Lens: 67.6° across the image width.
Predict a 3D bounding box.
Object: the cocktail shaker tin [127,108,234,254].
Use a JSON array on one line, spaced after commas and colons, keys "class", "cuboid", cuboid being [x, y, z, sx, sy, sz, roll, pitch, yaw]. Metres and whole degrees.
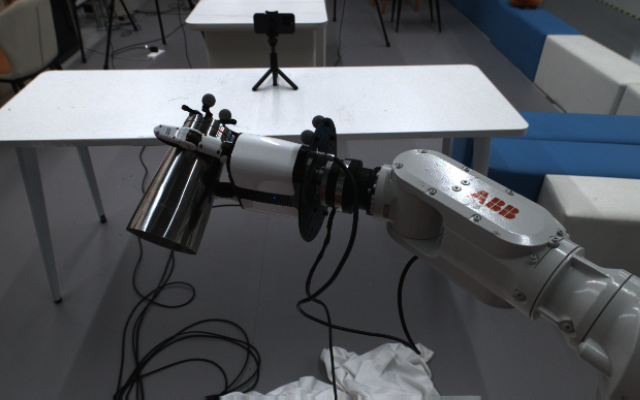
[{"class": "cocktail shaker tin", "cuboid": [-0.175, -0.026, 0.640, 0.093, 0.093, 0.170, 13, 72, 15]}]
